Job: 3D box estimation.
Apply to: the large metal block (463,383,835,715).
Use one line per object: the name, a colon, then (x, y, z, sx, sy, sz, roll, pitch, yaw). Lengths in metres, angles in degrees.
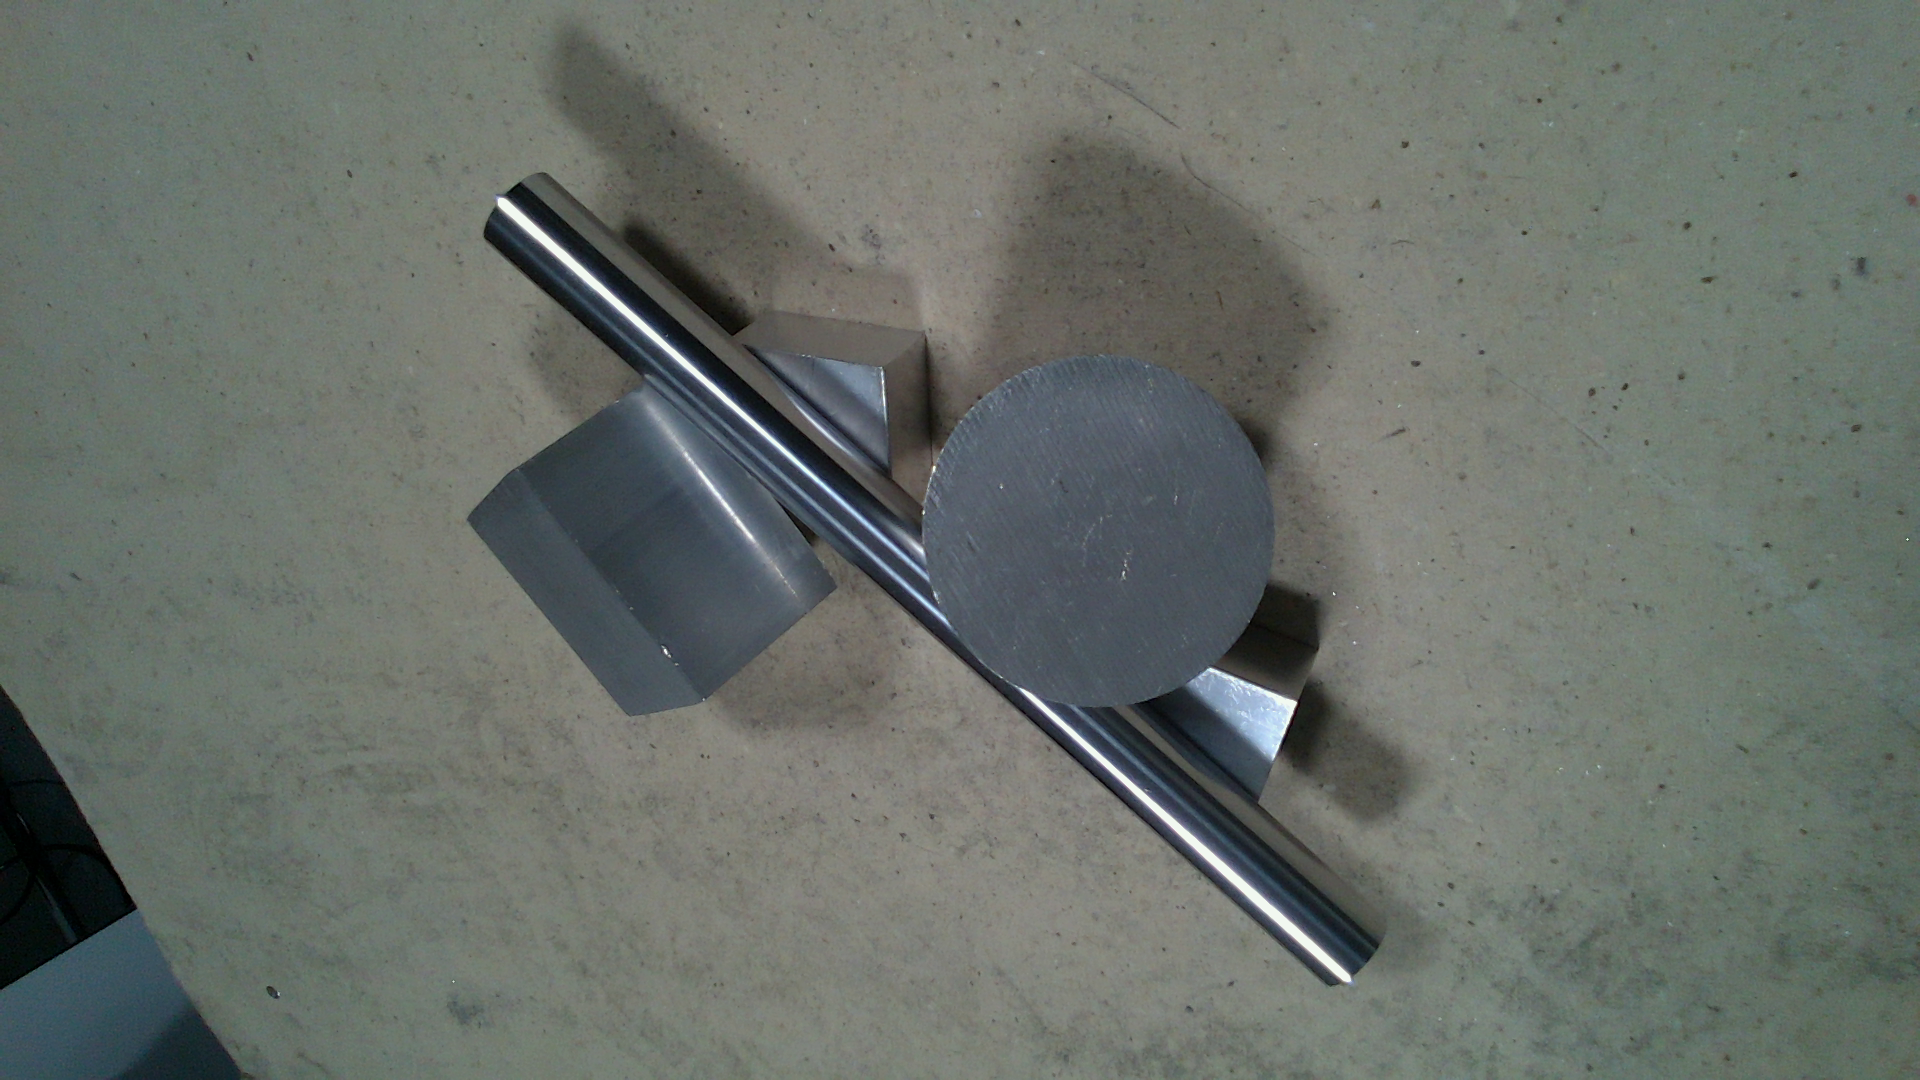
large metal block: (-0.095, 0.004, 0.409, 0.080, 0.050, 0.080, 53, 152, -10)

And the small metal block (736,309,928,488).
small metal block: (-0.038, -0.035, 0.392, 0.050, 0.025, 0.050, 11, 123, 22)

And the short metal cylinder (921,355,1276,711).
short metal cylinder: (0.031, -0.001, 0.334, 0.080, 0.050, 0.080, 0, 89, -1)

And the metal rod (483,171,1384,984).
metal rod: (-0.007, 0.010, 0.371, 0.300, 0.025, 0.025, 42, 129, -1)

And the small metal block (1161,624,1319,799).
small metal block: (0.067, 0.046, 0.386, 0.050, 0.025, 0.050, 22, 127, 15)
